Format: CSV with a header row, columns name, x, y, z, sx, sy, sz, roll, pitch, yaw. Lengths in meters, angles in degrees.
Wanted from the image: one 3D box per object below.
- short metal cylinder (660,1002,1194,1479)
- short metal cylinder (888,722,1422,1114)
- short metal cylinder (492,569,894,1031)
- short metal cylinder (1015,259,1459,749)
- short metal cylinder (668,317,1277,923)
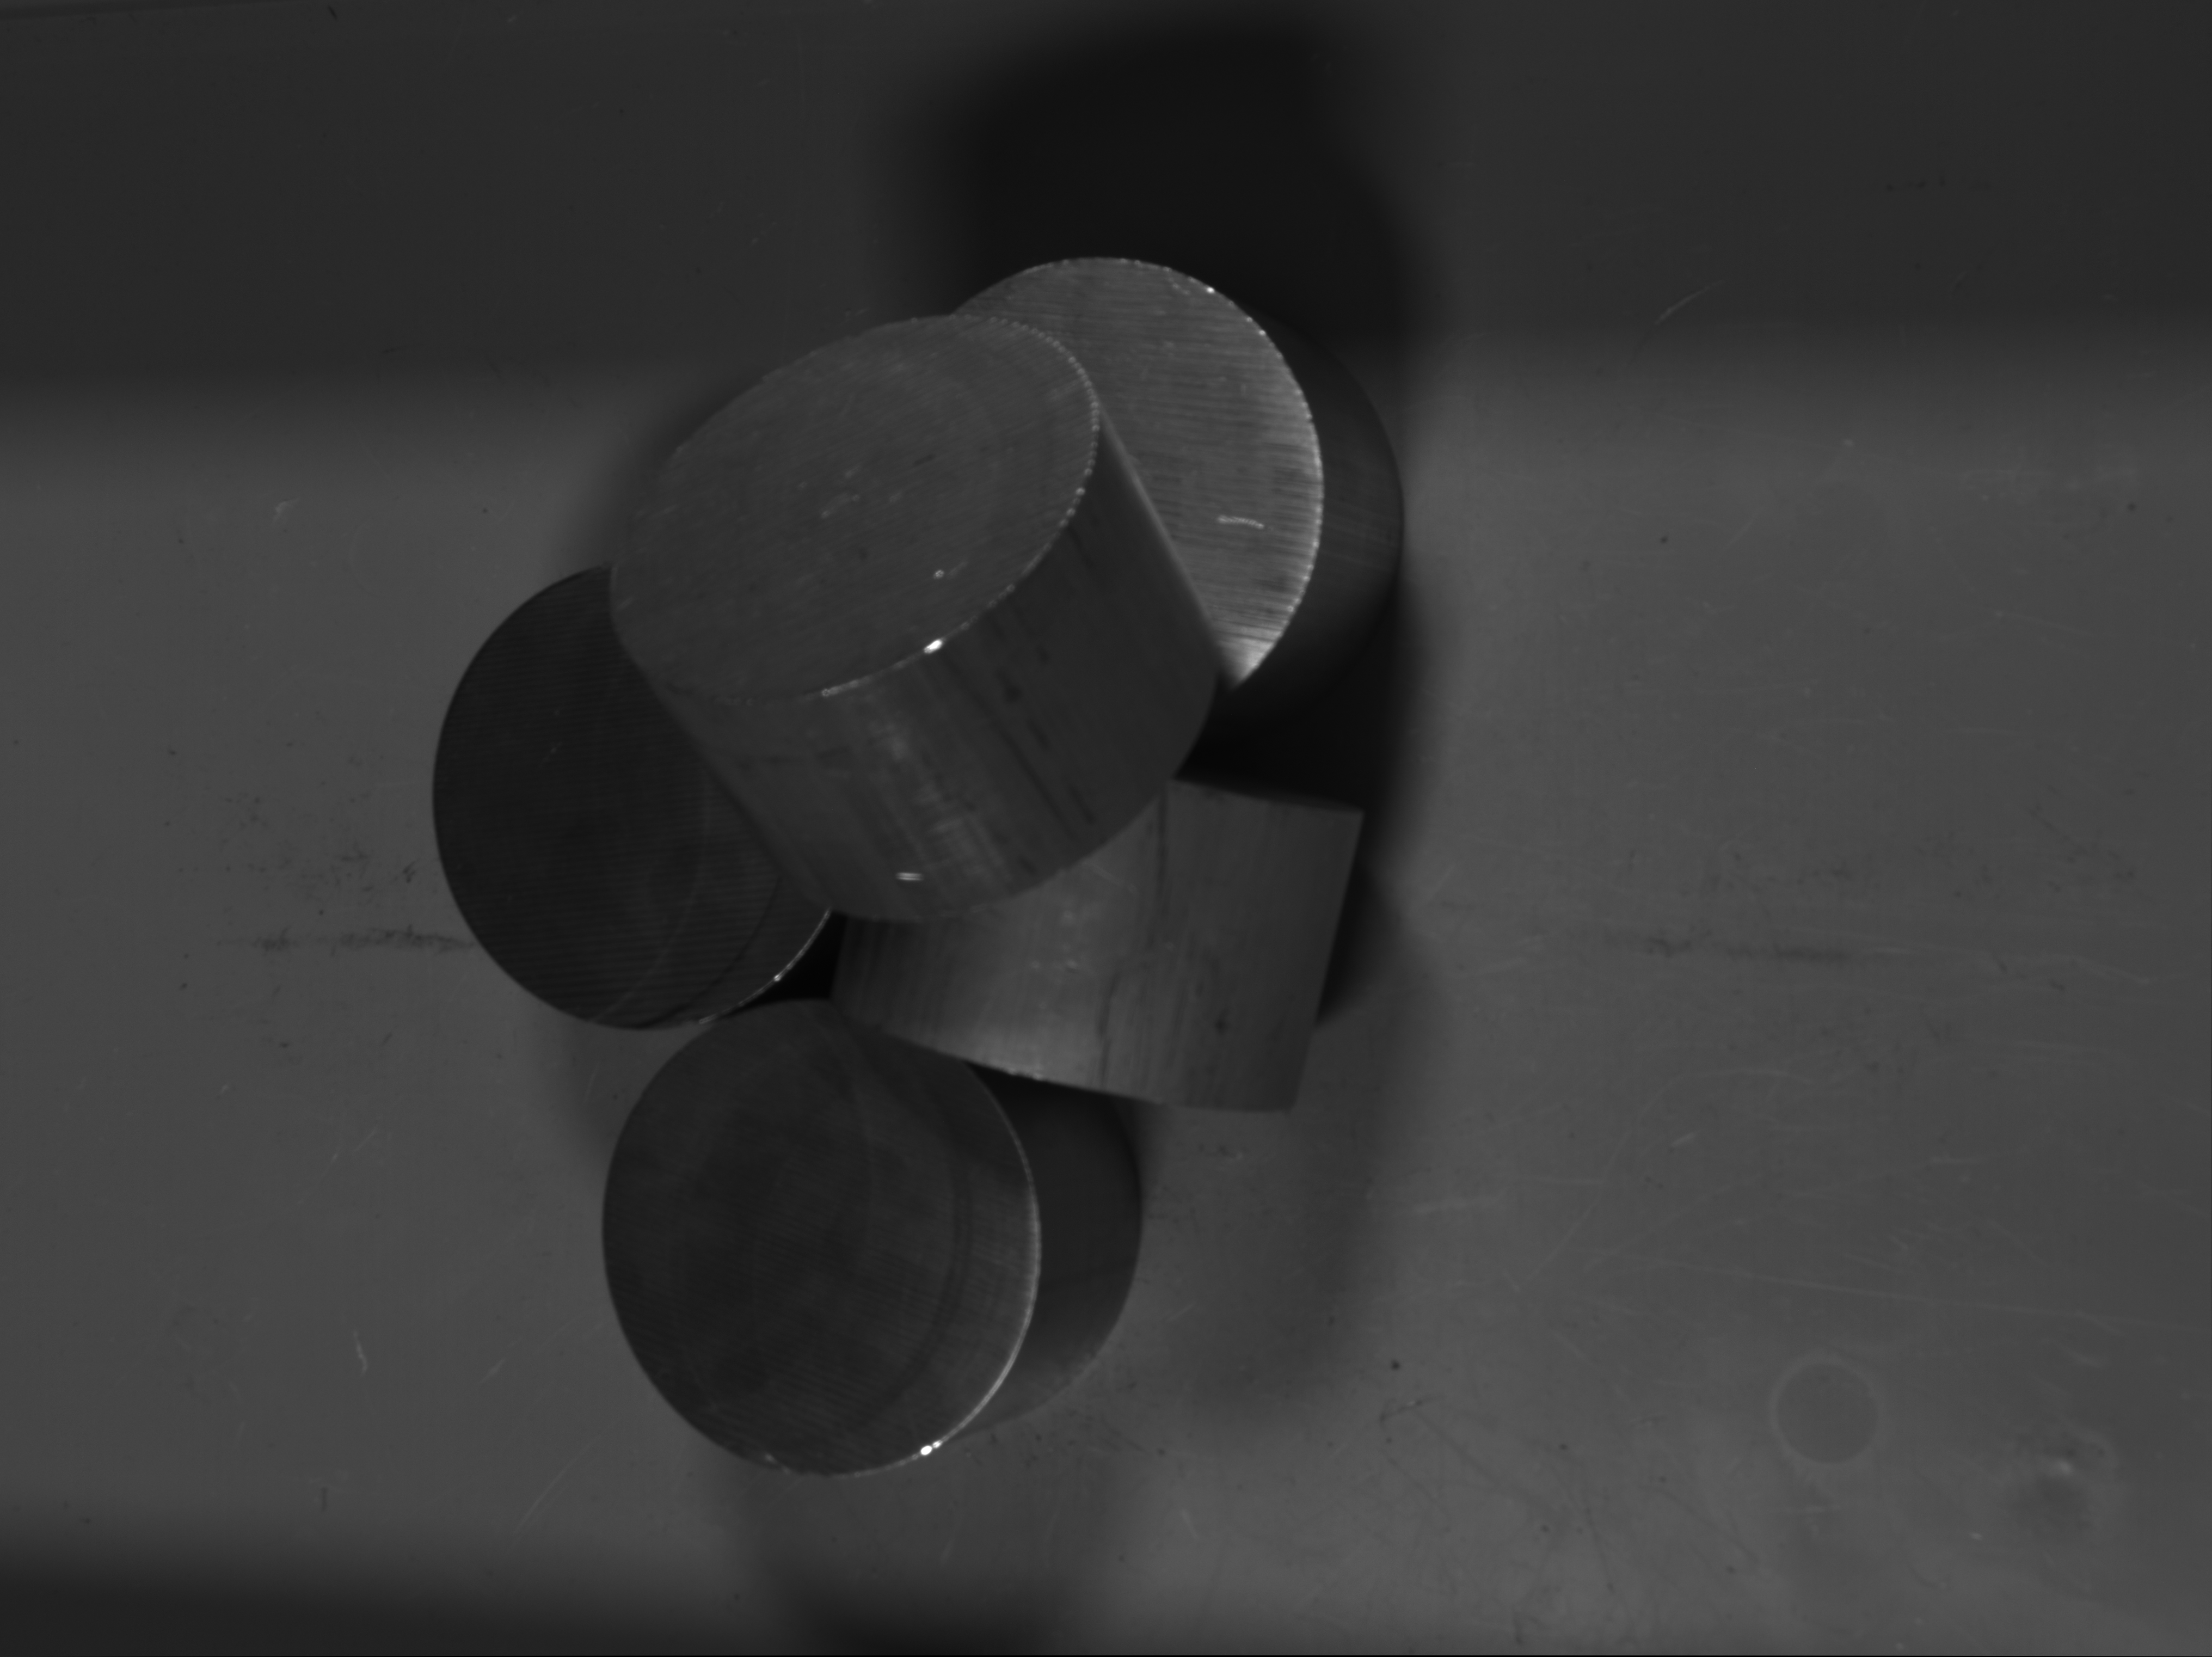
name,x,y,z,sx,sy,sz,roll,pitch,yaw
short metal cylinder,-0.031,0.069,0.640,0.080,0.050,0.080,0,90,20
short metal cylinder,0.008,0.013,0.612,0.080,0.080,0.050,14,95,19
short metal cylinder,-0.061,-0.005,0.651,0.080,0.050,0.080,0,90,20
short metal cylinder,0.015,-0.053,0.624,0.080,0.050,0.080,0,90,20
short metal cylinder,-0.020,-0.032,0.562,0.080,0.050,0.080,-15,45,16
